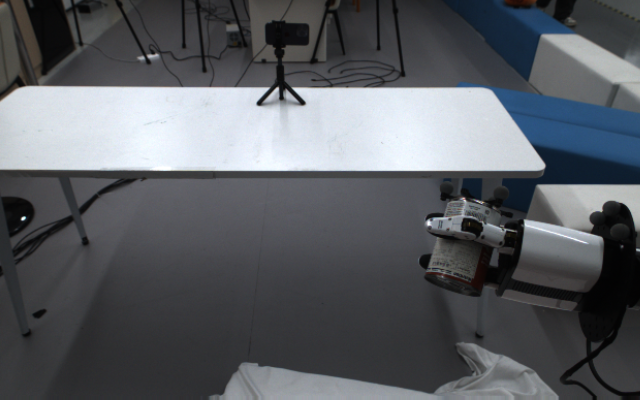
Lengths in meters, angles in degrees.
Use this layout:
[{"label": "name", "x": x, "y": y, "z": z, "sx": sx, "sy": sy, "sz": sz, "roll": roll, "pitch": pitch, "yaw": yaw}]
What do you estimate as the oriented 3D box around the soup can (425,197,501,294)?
[{"label": "soup can", "x": 0.172, "y": 0.052, "z": 0.581, "sx": 0.067, "sy": 0.067, "sz": 0.101, "roll": 16, "pitch": 74, "yaw": 19}]
